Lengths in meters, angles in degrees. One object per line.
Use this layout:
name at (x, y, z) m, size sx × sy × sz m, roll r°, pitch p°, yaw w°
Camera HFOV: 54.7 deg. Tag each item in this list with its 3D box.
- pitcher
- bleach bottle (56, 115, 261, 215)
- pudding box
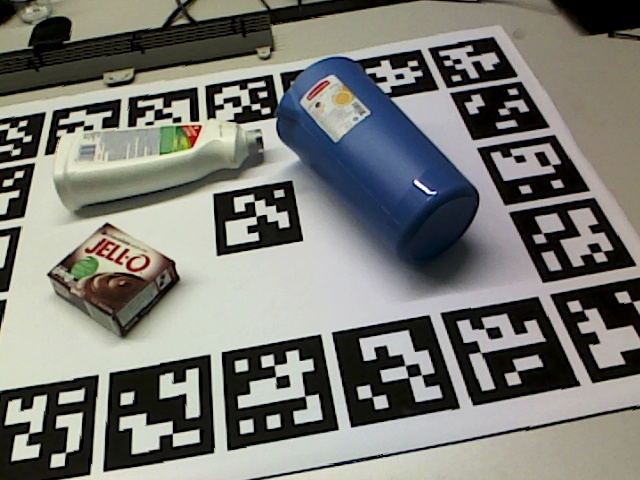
pitcher at (0.072, -0.078, 0.718) m, size 0.187 × 0.133 × 0.244 m, roll -5°, pitch 46°, yaw -44°
bleach bottle at (-0.200, -0.105, 0.791) m, size 0.250 × 0.067 × 0.103 m, roll -11°, pitch 55°, yaw -5°
pudding box at (-0.231, 0.041, 0.682) m, size 0.114 × 0.038 × 0.090 m, roll 29°, pitch 53°, yaw 24°
